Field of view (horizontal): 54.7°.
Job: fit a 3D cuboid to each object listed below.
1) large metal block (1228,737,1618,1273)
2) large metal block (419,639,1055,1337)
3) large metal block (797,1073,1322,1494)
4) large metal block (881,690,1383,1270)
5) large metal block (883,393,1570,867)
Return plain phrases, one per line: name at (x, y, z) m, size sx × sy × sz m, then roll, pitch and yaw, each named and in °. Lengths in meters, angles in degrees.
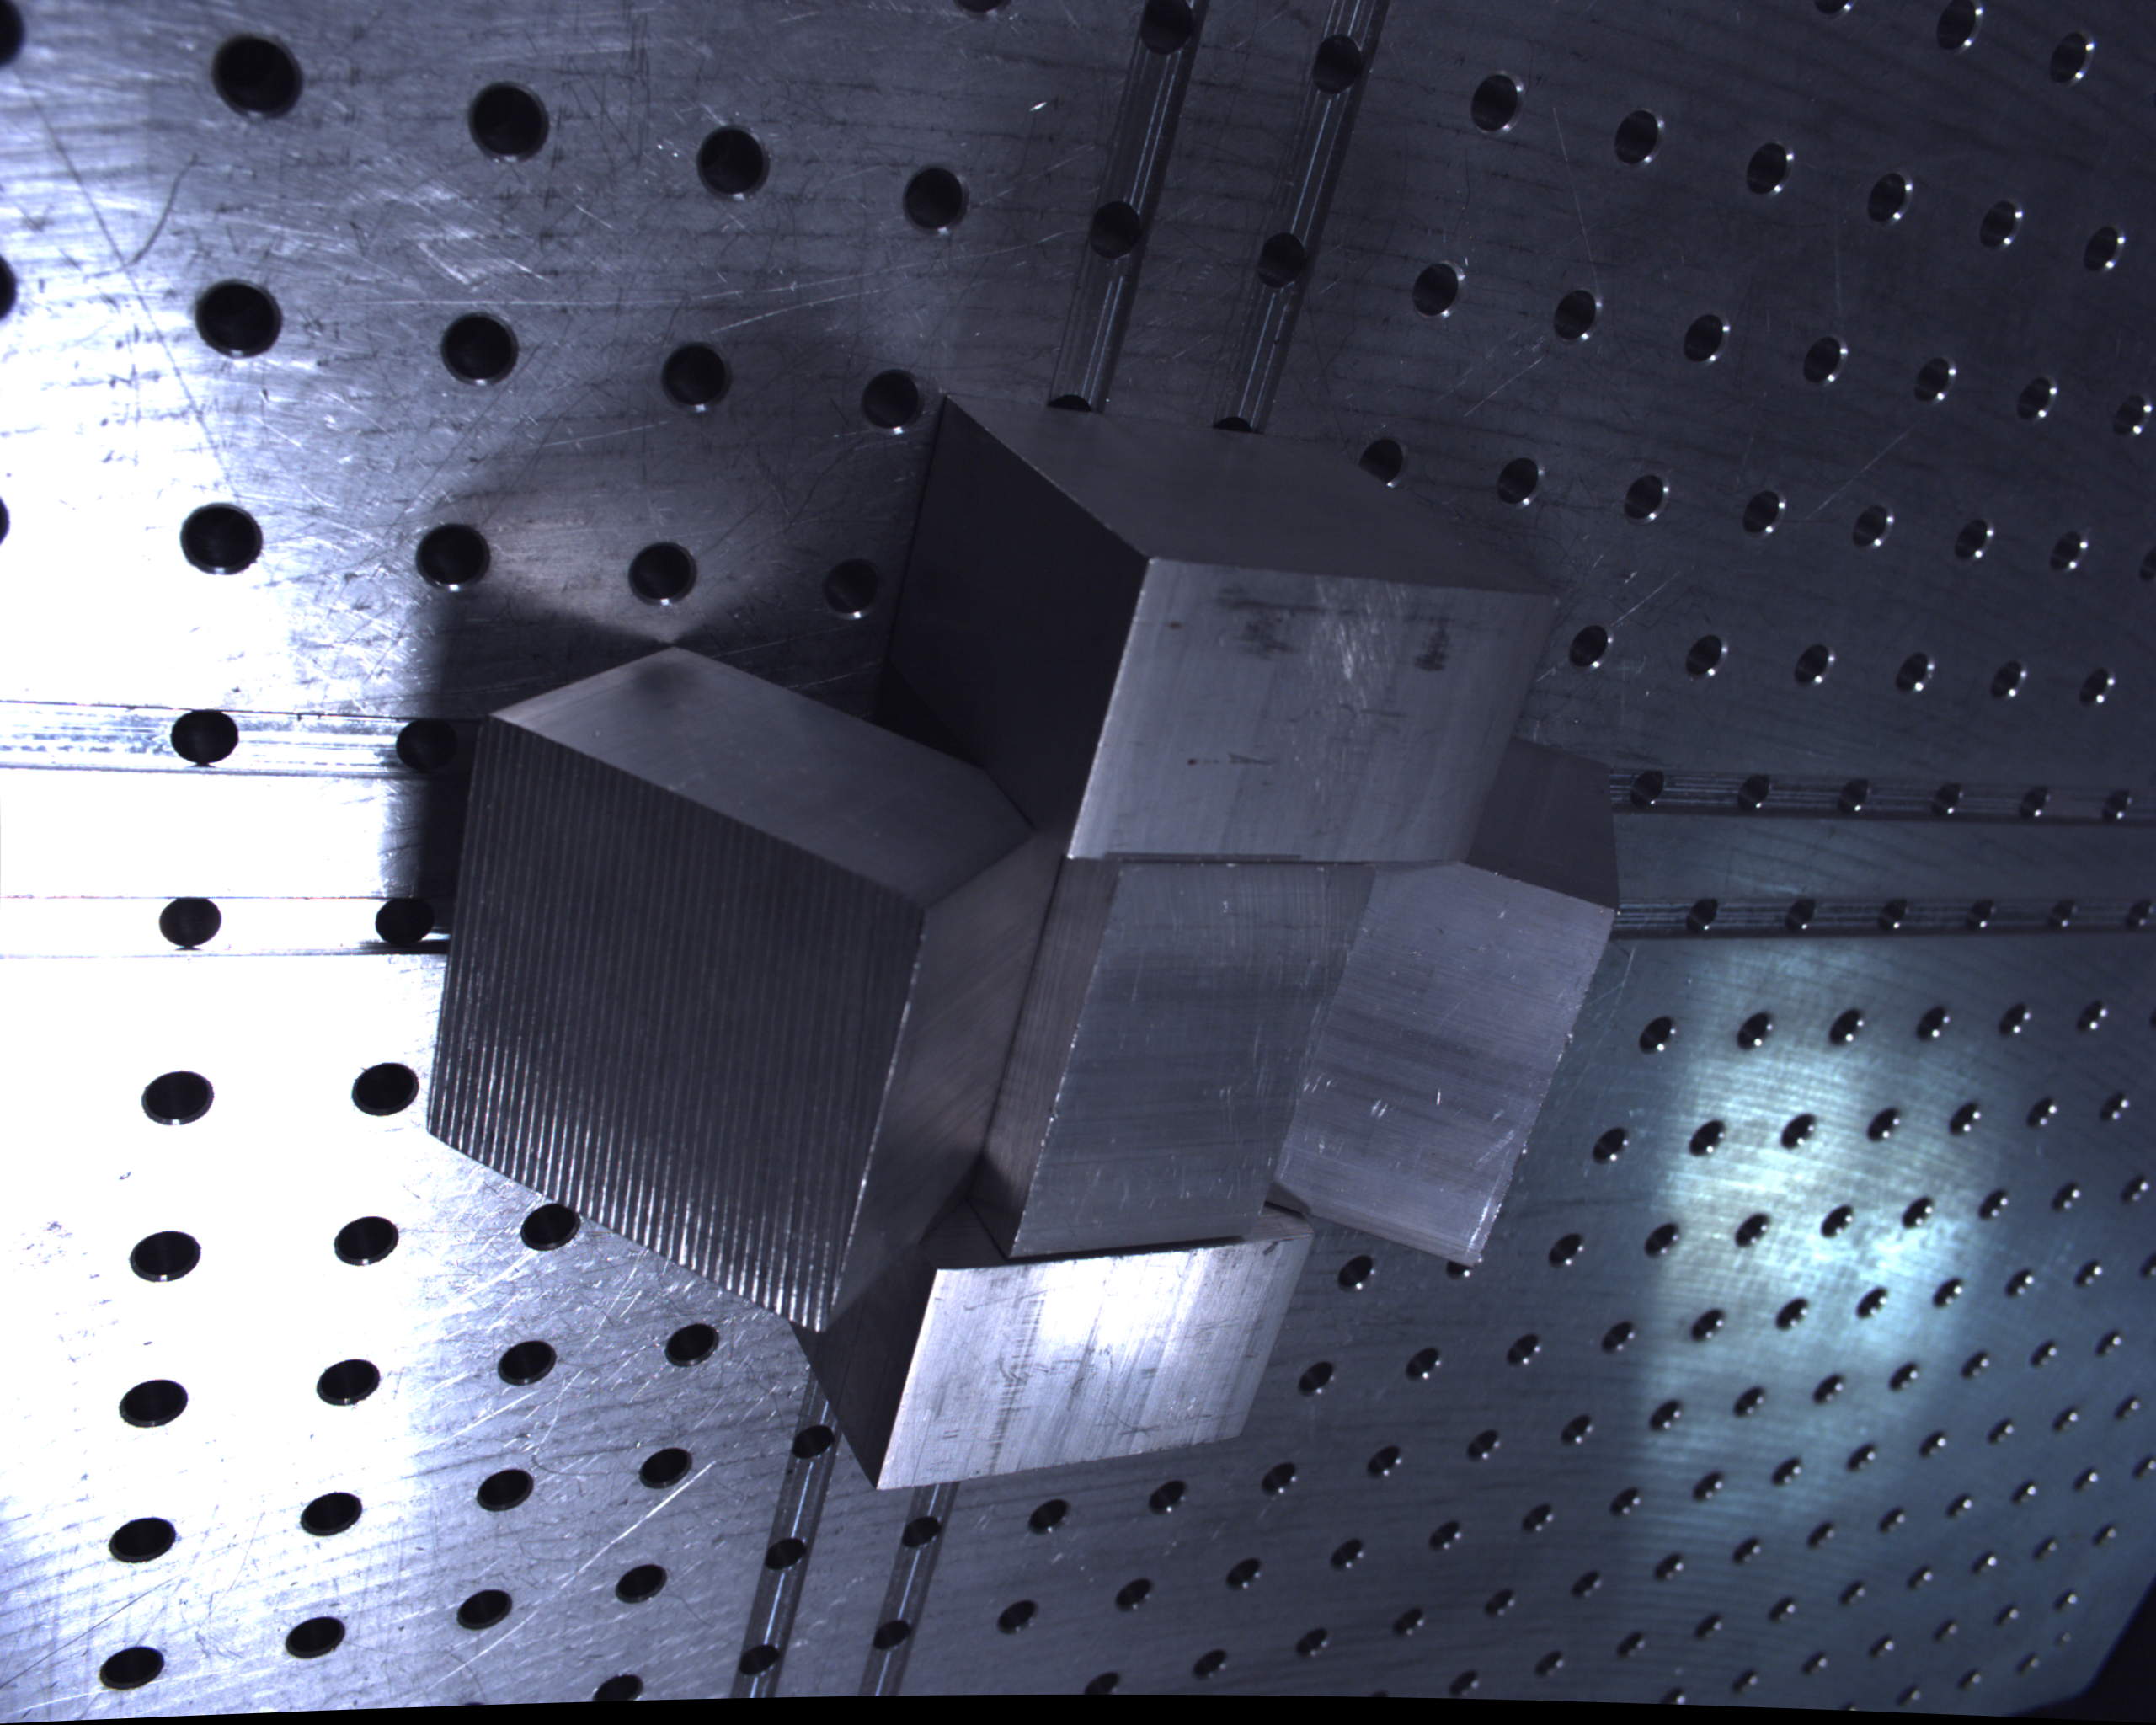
large metal block at (0.068, 0.021, 0.416) m, size 0.050 × 0.080 × 0.079 m, roll 17°, pitch 114°, yaw 5°
large metal block at (-0.057, 0.018, 0.349) m, size 0.050 × 0.080 × 0.079 m, roll -36°, pitch 146°, yaw -60°
large metal block at (-0.012, 0.073, 0.414) m, size 0.081 × 0.080 × 0.050 m, roll 1°, pitch 118°, yaw -29°
large metal block at (0.003, 0.017, 0.388) m, size 0.050 × 0.080 × 0.079 m, roll 1°, pitch 118°, yaw -29°
large metal block at (0.022, -0.041, 0.363) m, size 0.081 × 0.080 × 0.050 m, roll 1°, pitch 118°, yaw -29°
